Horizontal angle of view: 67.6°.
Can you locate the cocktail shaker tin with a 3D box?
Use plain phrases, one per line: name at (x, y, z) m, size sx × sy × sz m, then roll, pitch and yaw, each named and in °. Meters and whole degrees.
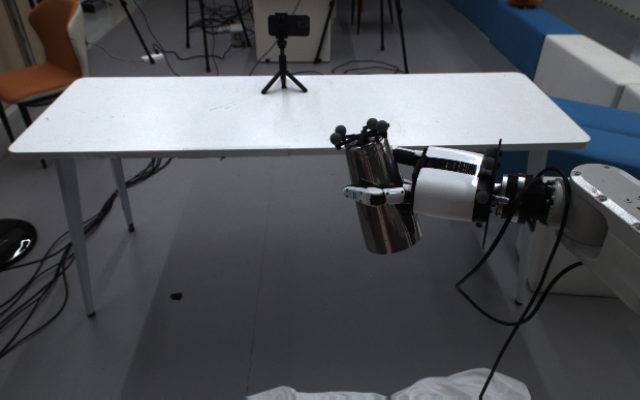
cocktail shaker tin at (0.092, -0.014, 0.744) m, size 0.093 × 0.170 × 0.093 m, roll -17°, pitch 20°, yaw 7°
